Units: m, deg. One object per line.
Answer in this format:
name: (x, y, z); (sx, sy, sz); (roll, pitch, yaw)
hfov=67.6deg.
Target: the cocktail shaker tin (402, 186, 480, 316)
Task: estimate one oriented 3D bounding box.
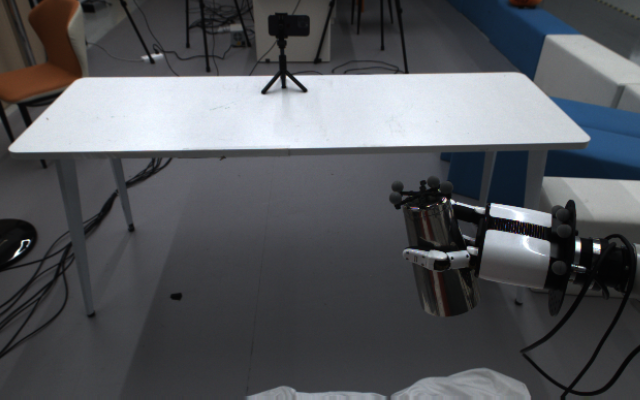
cocktail shaker tin: (0.173, 0.073, 0.707); (0.093, 0.170, 0.093); (-17, 20, 7)
